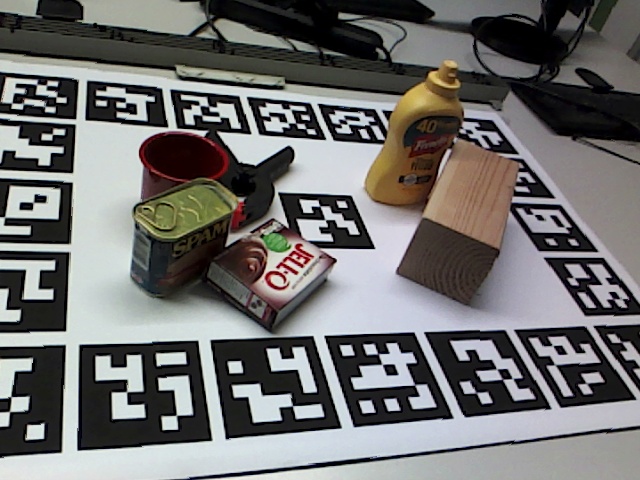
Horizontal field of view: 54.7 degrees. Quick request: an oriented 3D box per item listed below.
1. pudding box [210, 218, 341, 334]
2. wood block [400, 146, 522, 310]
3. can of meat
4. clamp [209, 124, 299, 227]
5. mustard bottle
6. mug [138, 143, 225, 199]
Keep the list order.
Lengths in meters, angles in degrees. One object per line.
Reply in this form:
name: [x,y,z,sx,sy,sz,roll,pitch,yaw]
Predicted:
pudding box: [-0.046,0.034,0.647,0.090,0.038,0.113,35,41,17]
wood block: [0.178,-0.024,0.765,0.090,0.091,0.206,24,38,9]
can of meat: [-0.135,-0.003,0.610,0.101,0.084,0.058,-26,59,-41]
clamp: [-0.092,-0.080,0.765,0.121,0.036,0.165,15,42,-7]
mustard bottle: [0.129,-0.136,0.786,0.096,0.191,0.059,-3,46,-24]
mug: [-0.158,-0.057,0.706,0.093,0.081,0.117,16,42,-4]
